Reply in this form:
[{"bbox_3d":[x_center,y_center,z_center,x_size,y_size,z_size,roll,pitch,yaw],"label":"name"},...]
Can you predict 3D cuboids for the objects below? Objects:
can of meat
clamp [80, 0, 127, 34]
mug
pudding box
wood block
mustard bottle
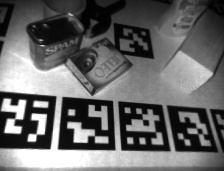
[{"bbox_3d":[-0.112,-0.091,0.428,0.103,0.083,0.057,-25,73,-27],"label":"can of meat"},{"bbox_3d":[-0.036,-0.197,0.549,0.122,0.036,0.165,23,60,-7],"label":"clamp"},{"bbox_3d":[-0.112,-0.171,0.504,0.093,0.081,0.117,25,60,-4],"label":"mug"},{"bbox_3d":[-0.023,-0.051,0.468,0.115,0.038,0.089,-35,78,-32],"label":"pudding box"},{"bbox_3d":[0.222,-0.099,0.548,0.089,0.091,0.207,36,56,6],"label":"wood block"},{"bbox_3d":[0.192,-0.220,0.538,0.097,0.191,0.058,0,63,-16],"label":"mustard bottle"}]
